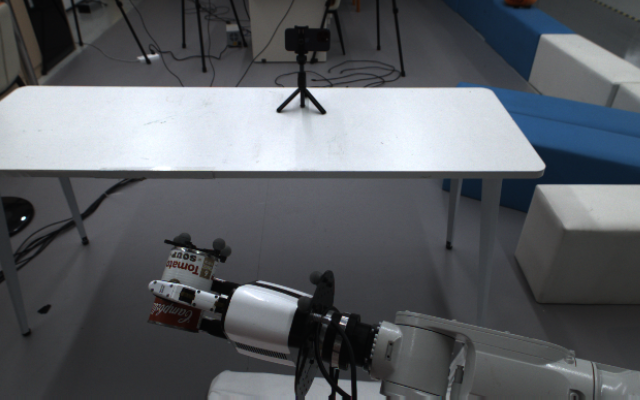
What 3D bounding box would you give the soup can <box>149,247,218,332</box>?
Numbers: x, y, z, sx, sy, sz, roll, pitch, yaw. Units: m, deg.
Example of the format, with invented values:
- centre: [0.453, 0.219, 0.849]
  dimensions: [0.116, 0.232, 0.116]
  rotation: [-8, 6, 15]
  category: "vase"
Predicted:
- centre: [-0.181, 0.122, 0.647]
  dimensions: [0.067, 0.067, 0.101]
  rotation: [9, 72, 10]
  category: "soup can"
